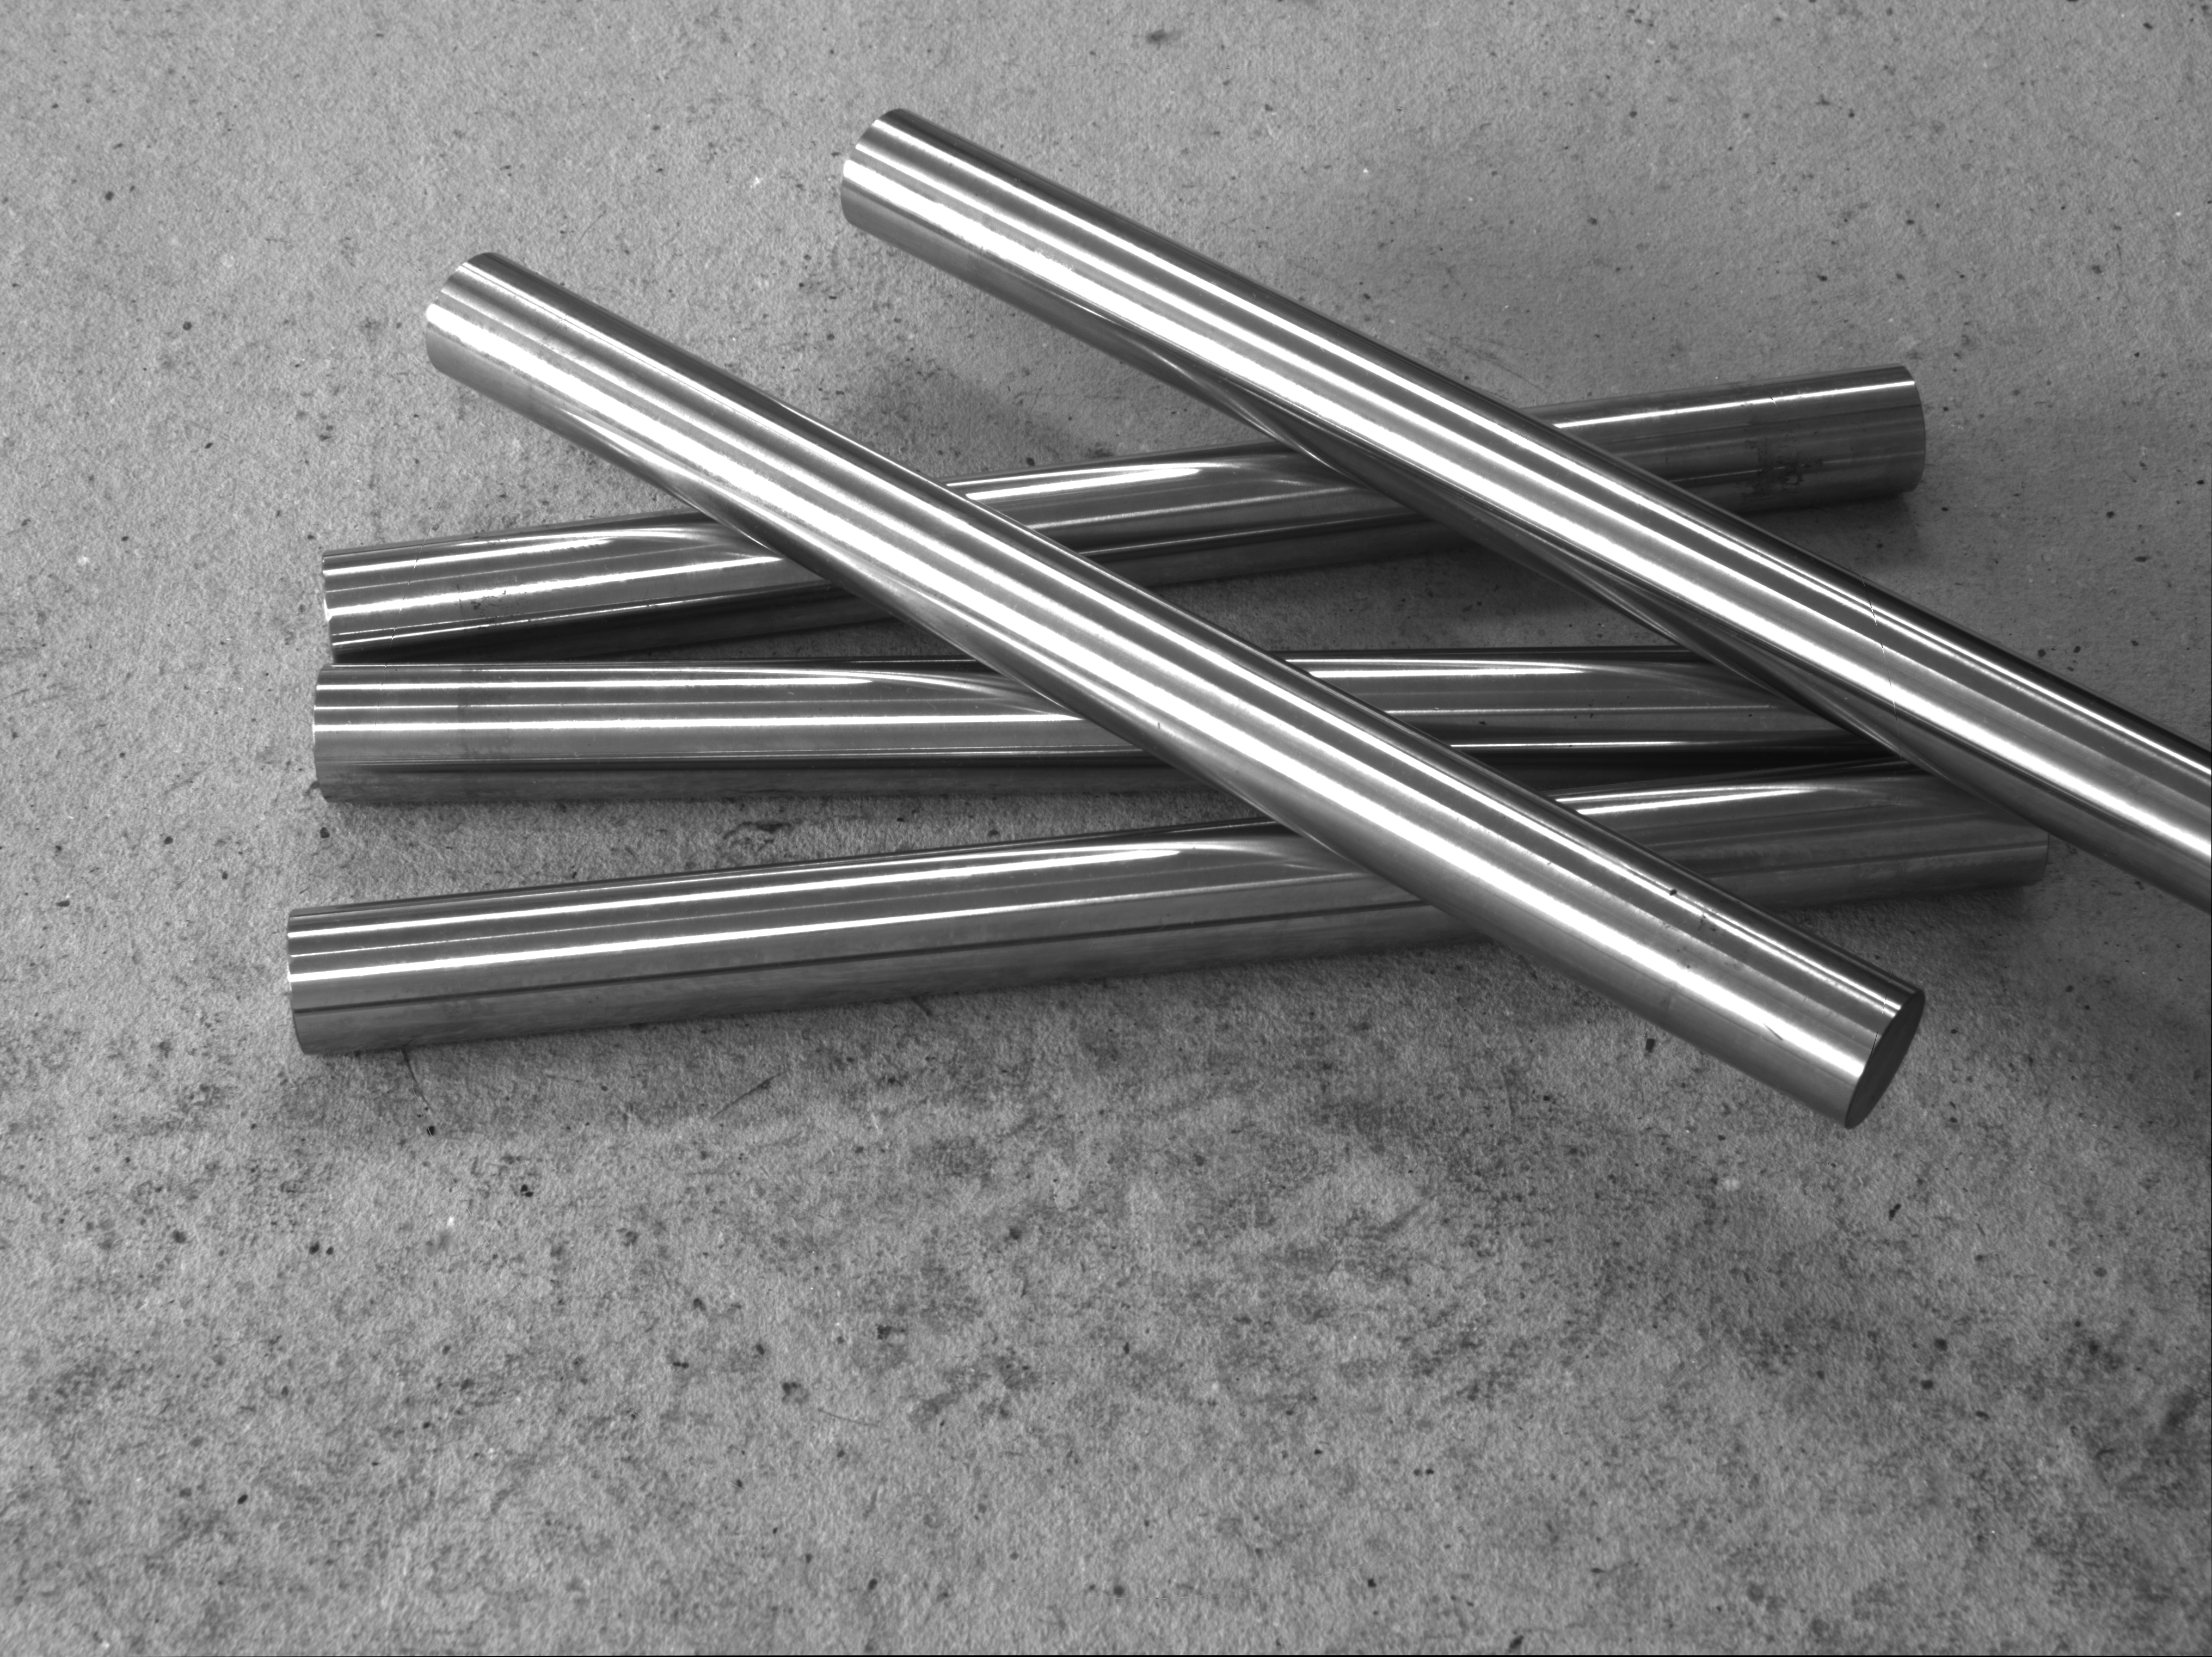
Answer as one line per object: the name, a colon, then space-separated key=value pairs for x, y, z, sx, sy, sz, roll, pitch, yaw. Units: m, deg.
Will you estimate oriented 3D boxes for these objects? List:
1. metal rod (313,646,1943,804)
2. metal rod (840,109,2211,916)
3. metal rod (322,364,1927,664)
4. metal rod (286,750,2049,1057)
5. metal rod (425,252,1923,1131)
metal rod: x=0.011 y=-0.019 z=0.658 sx=0.300 sy=0.025 sz=0.025 roll=-1 pitch=50 yaw=-1
metal rod: x=0.076 y=-0.061 z=0.661 sx=0.299 sy=0.025 sz=0.025 roll=30 pitch=56 yaw=23
metal rod: x=0.006 y=-0.058 z=0.691 sx=0.300 sy=0.025 sz=0.025 roll=-7 pitch=50 yaw=-6
metal rod: x=0.013 y=0.012 z=0.632 sx=0.300 sy=0.025 sz=0.025 roll=-6 pitch=50 yaw=-5
metal rod: x=0.002 y=-0.030 z=0.635 sx=0.299 sy=0.025 sz=0.025 roll=29 pitch=56 yaw=22
